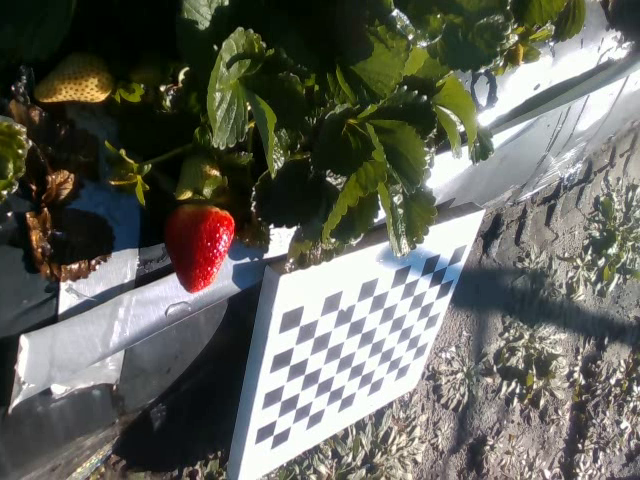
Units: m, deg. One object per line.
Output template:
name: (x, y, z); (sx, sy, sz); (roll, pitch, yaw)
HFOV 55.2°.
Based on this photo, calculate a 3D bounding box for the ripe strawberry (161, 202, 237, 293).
ripe strawberry: (-0.085, 0.011, 0.446); (0.057, 0.065, 0.061); (-13, -20, 27)
